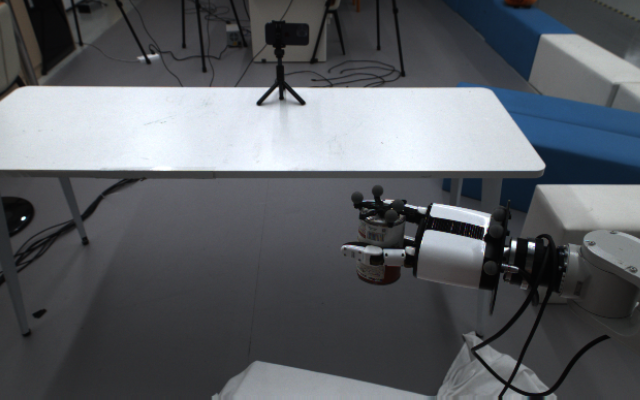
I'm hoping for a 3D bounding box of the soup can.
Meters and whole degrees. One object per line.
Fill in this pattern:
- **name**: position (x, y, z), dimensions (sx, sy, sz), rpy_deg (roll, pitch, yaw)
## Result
- **soup can**: position (0.090, 0.064, 0.706), dimensions (0.067, 0.101, 0.067), rpy_deg (1, 25, 0)
